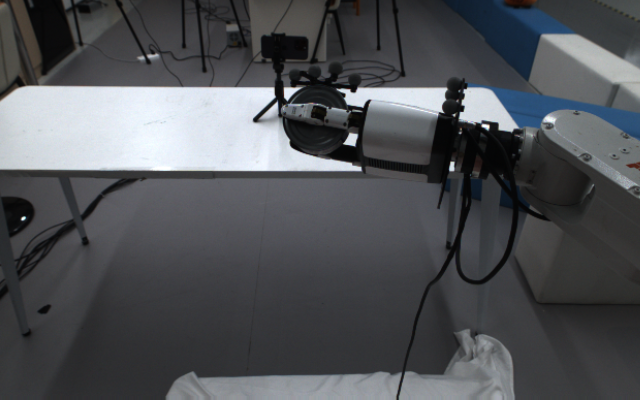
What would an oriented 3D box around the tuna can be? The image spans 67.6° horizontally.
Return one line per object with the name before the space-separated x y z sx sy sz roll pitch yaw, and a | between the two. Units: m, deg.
tuna can | -0.003 -0.104 0.625 0.085 0.085 0.034 11 -5 12
